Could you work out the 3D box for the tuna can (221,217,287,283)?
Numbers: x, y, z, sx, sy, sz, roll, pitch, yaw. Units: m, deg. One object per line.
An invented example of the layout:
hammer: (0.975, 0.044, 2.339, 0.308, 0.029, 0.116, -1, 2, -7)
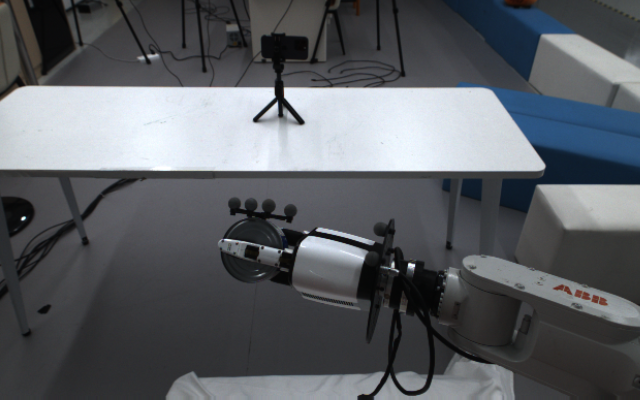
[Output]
tuna can: (-0.085, 0.066, 0.642, 0.085, 0.085, 0.034, 12, -7, 13)
